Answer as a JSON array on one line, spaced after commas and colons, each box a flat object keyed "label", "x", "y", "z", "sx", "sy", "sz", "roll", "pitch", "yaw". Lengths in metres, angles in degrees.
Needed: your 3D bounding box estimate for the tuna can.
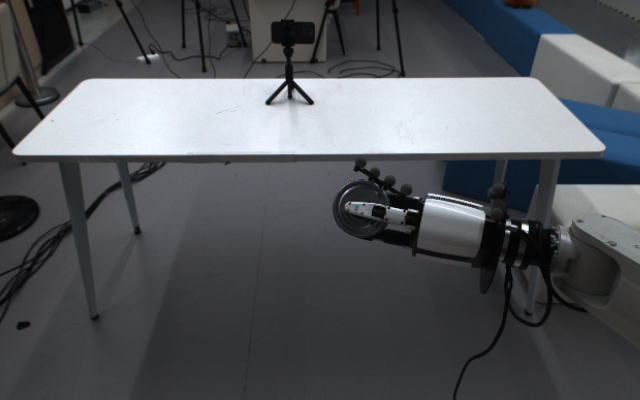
[{"label": "tuna can", "x": 0.066, "y": 0.020, "z": 0.714, "sx": 0.085, "sy": 0.085, "sz": 0.034, "roll": 13, "pitch": -4, "yaw": 15}]
